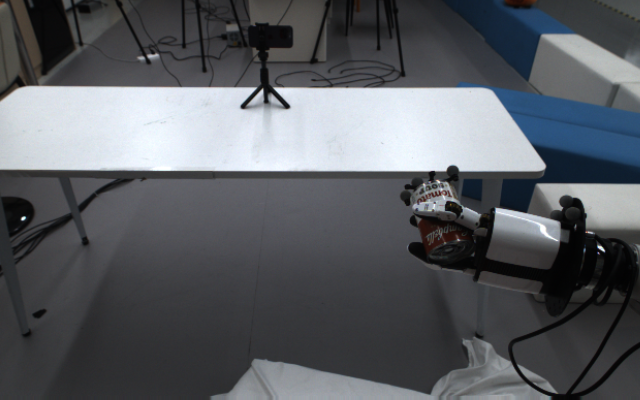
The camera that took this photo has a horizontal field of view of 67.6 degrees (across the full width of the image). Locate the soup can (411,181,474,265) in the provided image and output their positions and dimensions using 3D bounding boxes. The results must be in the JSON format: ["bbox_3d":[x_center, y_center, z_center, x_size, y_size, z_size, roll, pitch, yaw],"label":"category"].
[{"bbox_3d":[0.173,0.030,0.684,0.067,0.067,0.101,-5,57,-10],"label":"soup can"}]
